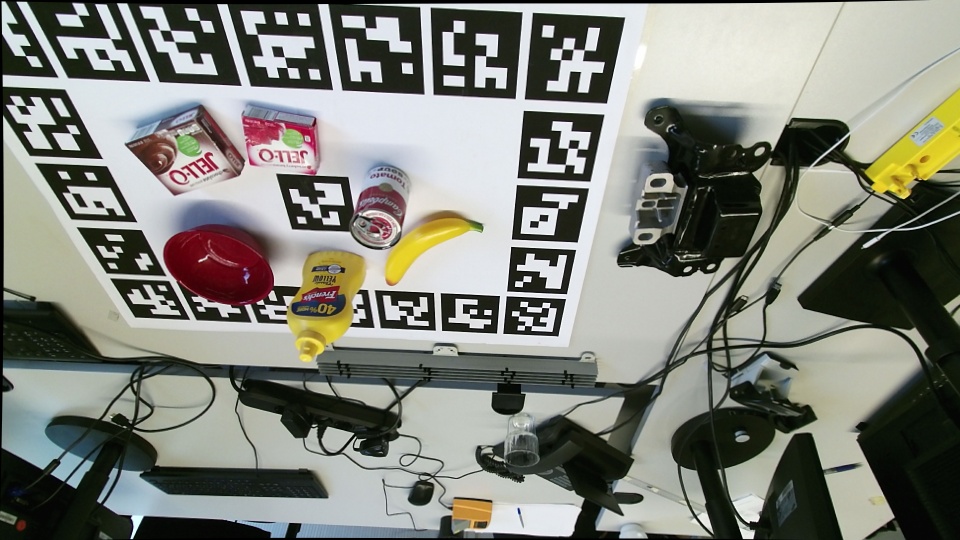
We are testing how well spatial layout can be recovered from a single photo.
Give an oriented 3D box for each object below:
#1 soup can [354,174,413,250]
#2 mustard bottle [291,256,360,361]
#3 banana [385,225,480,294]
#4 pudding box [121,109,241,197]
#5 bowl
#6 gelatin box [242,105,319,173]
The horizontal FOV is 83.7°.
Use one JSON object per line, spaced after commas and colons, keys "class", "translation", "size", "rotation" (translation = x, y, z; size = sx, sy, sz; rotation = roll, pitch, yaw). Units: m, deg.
{"class": "soup can", "translation": [-0.130, -0.075, 0.727], "size": [0.068, 0.101, 0.068], "rotation": [3, 135, 3]}
{"class": "mustard bottle", "translation": [-0.244, 0.063, 0.798], "size": [0.096, 0.190, 0.058], "rotation": [3, 136, 0]}
{"class": "banana", "translation": [-0.092, -0.019, 0.834], "size": [0.197, 0.038, 0.074], "rotation": [-35, 133, 30]}
{"class": "pudding box", "translation": [-0.396, -0.154, 0.717], "size": [0.114, 0.038, 0.090], "rotation": [-15, 126, 16]}
{"class": "bowl", "translation": [-0.411, -0.014, 0.844], "size": [0.162, 0.055, 0.162], "rotation": [0, 134, 0]}
{"class": "gelatin box", "translation": [-0.258, -0.170, 0.702], "size": [0.090, 0.030, 0.073], "rotation": [8, 130, -6]}
